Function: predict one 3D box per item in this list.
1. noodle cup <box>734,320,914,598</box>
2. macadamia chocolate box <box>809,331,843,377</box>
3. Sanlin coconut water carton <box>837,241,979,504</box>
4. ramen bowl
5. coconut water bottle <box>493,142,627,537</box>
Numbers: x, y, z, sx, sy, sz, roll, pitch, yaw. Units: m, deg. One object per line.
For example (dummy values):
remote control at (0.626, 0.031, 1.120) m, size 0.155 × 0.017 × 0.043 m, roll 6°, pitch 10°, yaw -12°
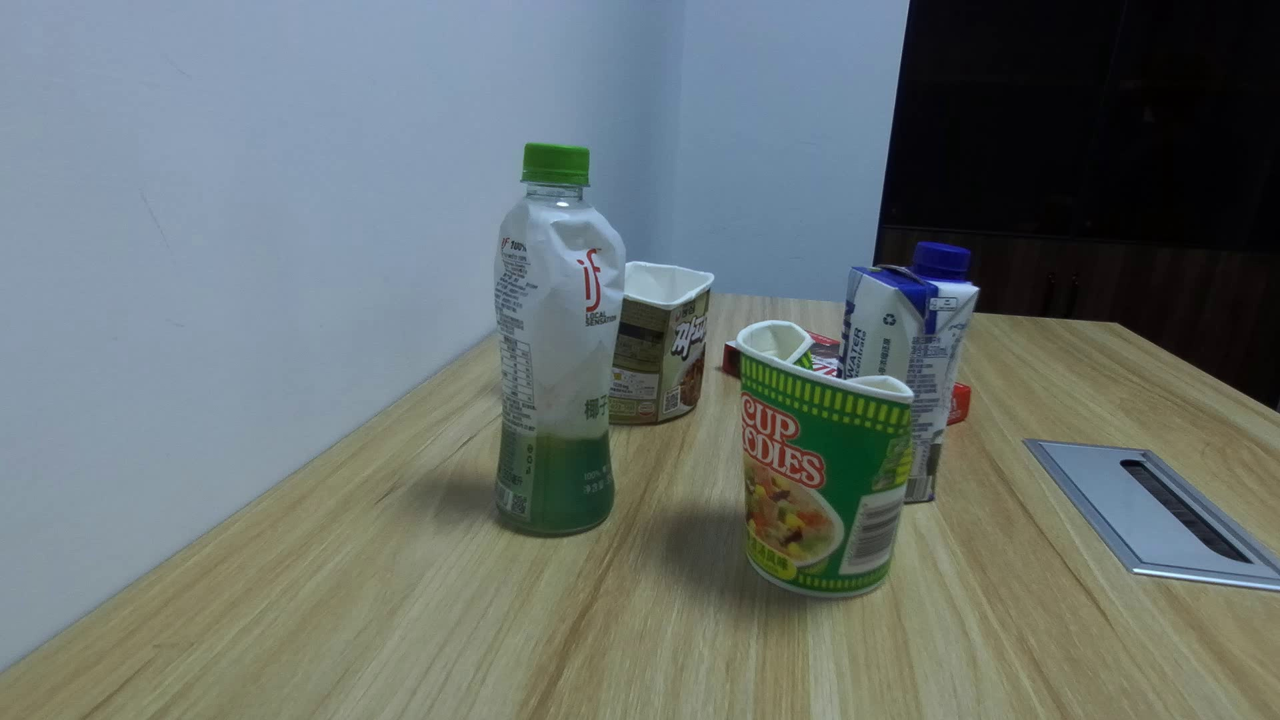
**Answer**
noodle cup at (0.086, 0.044, 0.325) m, size 0.075 × 0.122 × 0.083 m, roll 0°, pitch 25°, yaw 18°
macadamia chocolate box at (0.160, 0.013, 0.572) m, size 0.096 × 0.027 × 0.177 m, roll -7°, pitch 19°, yaw -35°
Sanlin coconut water carton at (0.145, 0.007, 0.398) m, size 0.061 × 0.144 × 0.060 m, roll -2°, pitch 19°, yaw -13°
ramen bowl at (-0.002, -0.020, 0.531) m, size 0.113 × 0.097 × 0.134 m, roll 11°, pitch 20°, yaw 23°
coconut water bottle at (-0.041, -0.009, 0.354) m, size 0.067 × 0.187 × 0.067 m, roll 2°, pitch 16°, yaw 0°
